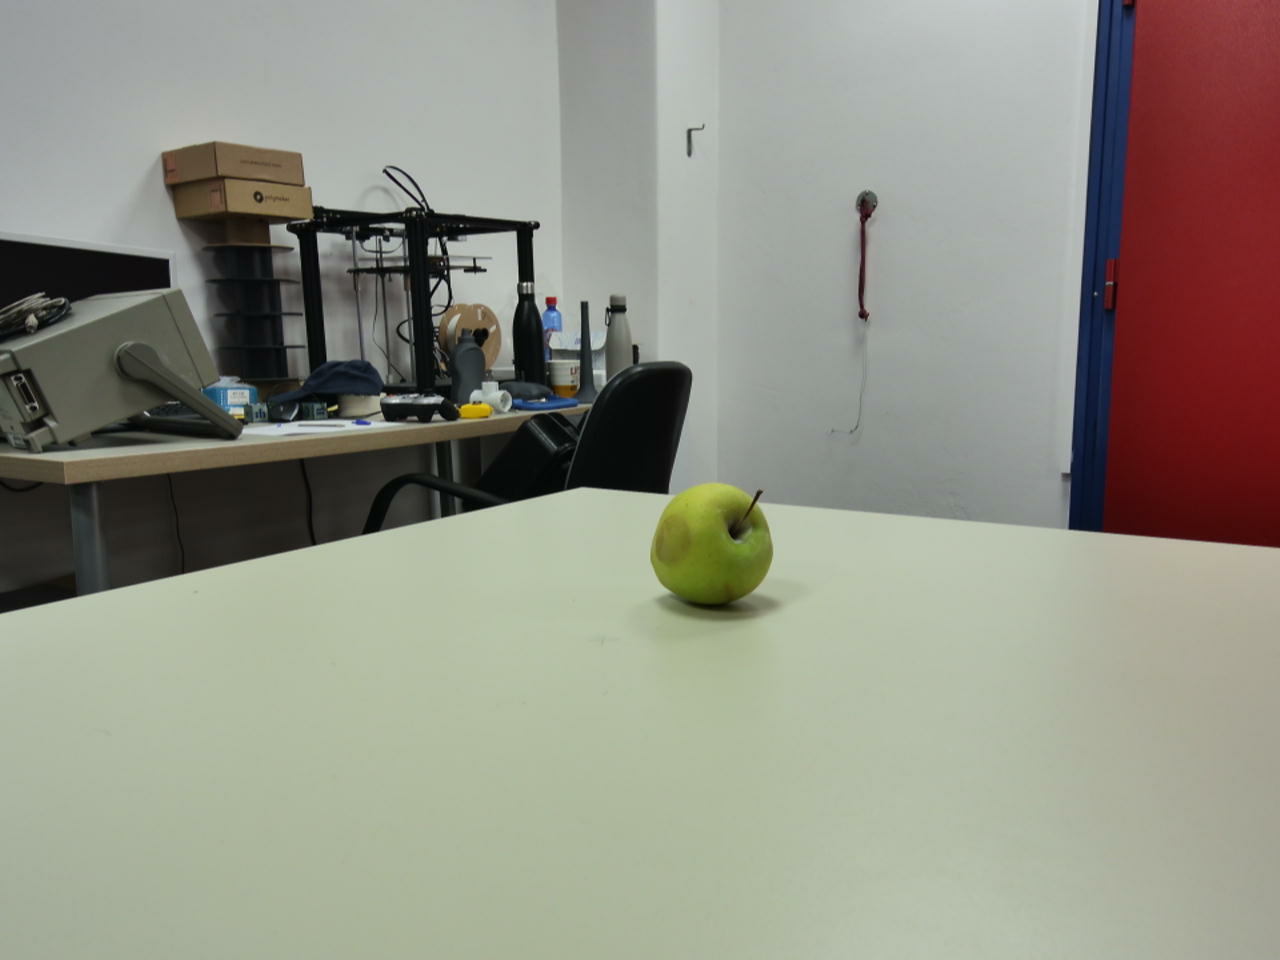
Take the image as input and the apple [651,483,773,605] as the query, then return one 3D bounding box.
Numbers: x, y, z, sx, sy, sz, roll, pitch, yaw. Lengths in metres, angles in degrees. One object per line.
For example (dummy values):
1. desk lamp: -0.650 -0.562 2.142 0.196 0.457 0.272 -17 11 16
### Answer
1. apple: 0.045 0.040 0.625 0.072 0.075 0.077 -3 7 -11
